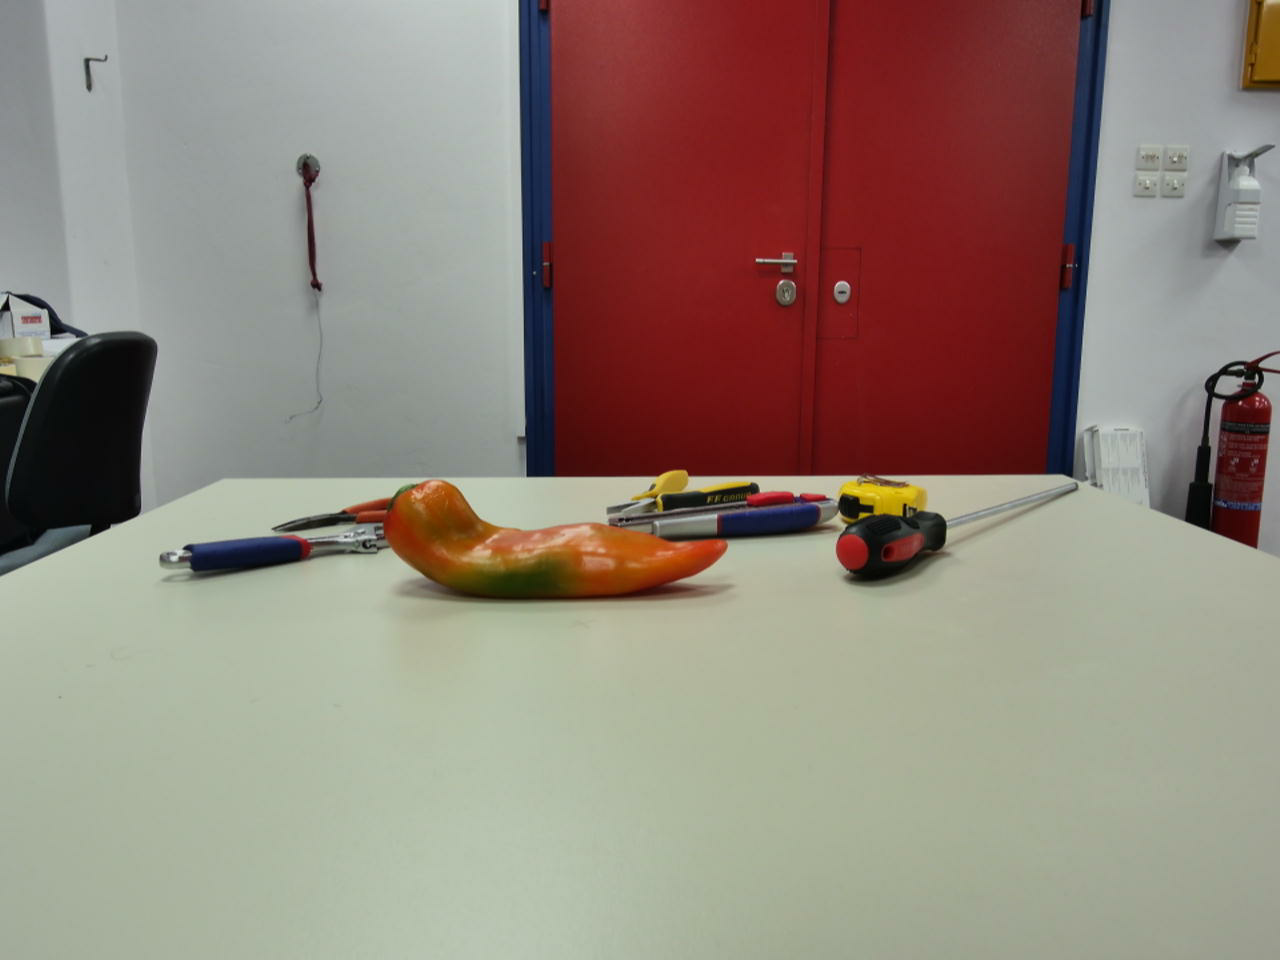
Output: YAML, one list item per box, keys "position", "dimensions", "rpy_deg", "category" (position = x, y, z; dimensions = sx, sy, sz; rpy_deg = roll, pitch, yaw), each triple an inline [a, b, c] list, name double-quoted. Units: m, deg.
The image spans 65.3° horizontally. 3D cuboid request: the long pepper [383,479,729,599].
- position: [-0.049, 0.032, 0.576]
  dimensions: [0.199, 0.065, 0.066]
  rpy_deg: [0, 8, 4]
  category: "long pepper"
